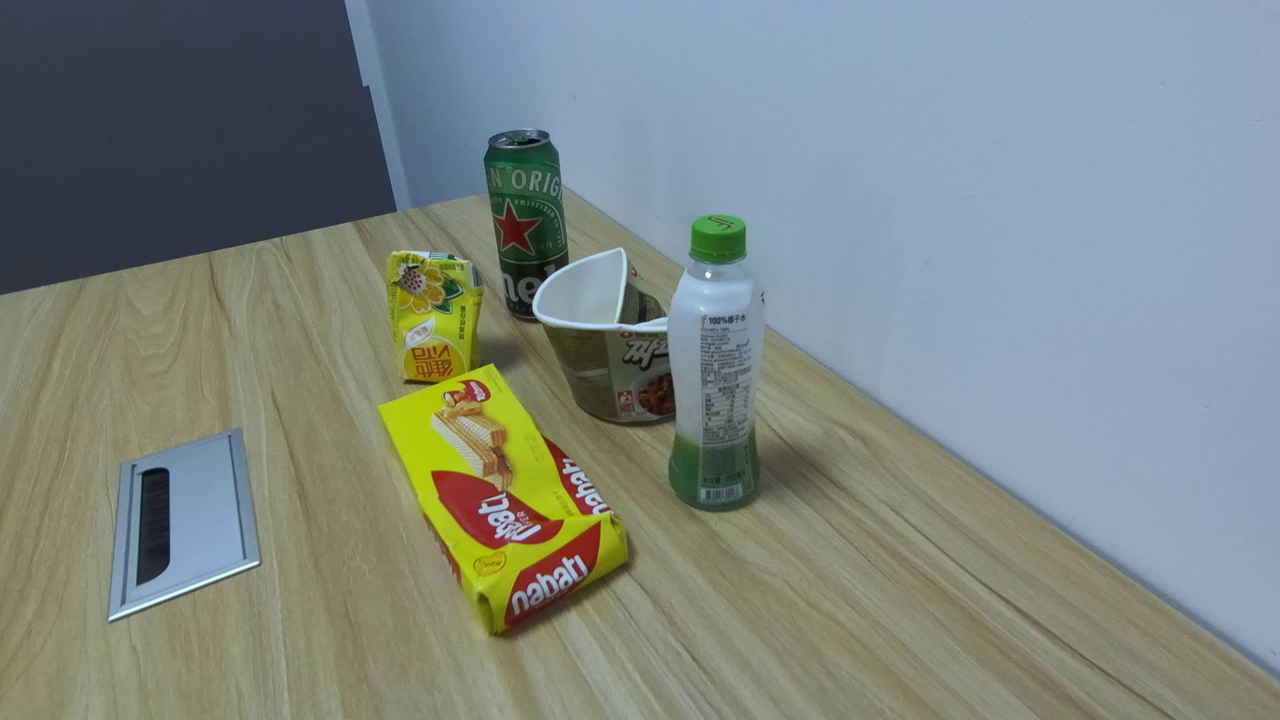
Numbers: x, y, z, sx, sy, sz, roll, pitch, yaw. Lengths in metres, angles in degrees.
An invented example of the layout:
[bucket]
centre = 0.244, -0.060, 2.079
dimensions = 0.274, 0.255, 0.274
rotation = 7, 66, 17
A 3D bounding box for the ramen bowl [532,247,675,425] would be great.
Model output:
[ramen bowl]
centre = -0.012, -0.018, 0.564
dimensions = 0.137, 0.098, 0.137
rotation = -2, 32, 1

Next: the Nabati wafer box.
[Nabati wafer box]
centre = -0.094, 0.080, 0.473
dimensions = 0.107, 0.042, 0.203
rotation = -22, 40, -24

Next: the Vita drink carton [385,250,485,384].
[Vita drink carton]
centre = -0.172, -0.040, 0.602
dimensions = 0.087, 0.108, 0.042
rotation = 5, 20, 6

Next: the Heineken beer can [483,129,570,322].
[Heineken beer can]
centre = -0.102, -0.122, 0.664
dimensions = 0.067, 0.169, 0.067
rotation = -2, 29, 2

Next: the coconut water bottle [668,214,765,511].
[coconut water bottle]
centre = 0.050, 0.003, 0.440
dimensions = 0.069, 0.186, 0.069
rotation = -1, 31, 1
